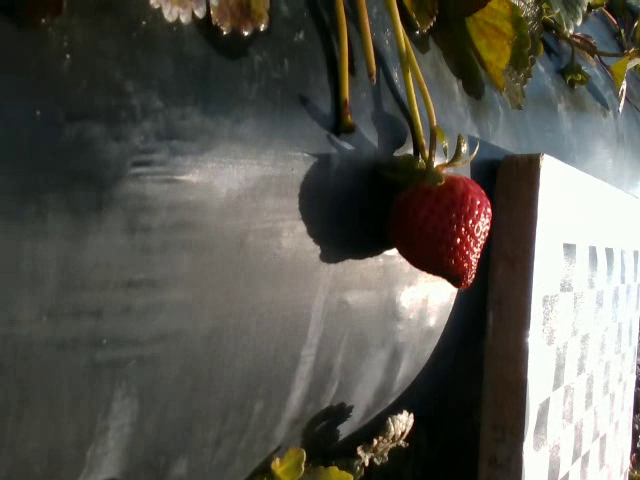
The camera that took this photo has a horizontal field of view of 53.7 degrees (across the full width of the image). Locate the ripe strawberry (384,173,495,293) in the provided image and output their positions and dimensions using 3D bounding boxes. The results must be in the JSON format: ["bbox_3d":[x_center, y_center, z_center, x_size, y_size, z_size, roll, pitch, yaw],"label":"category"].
[{"bbox_3d":[0.042,-0.001,0.203,0.037,0.044,0.040,-12,10,40],"label":"ripe strawberry"}]
